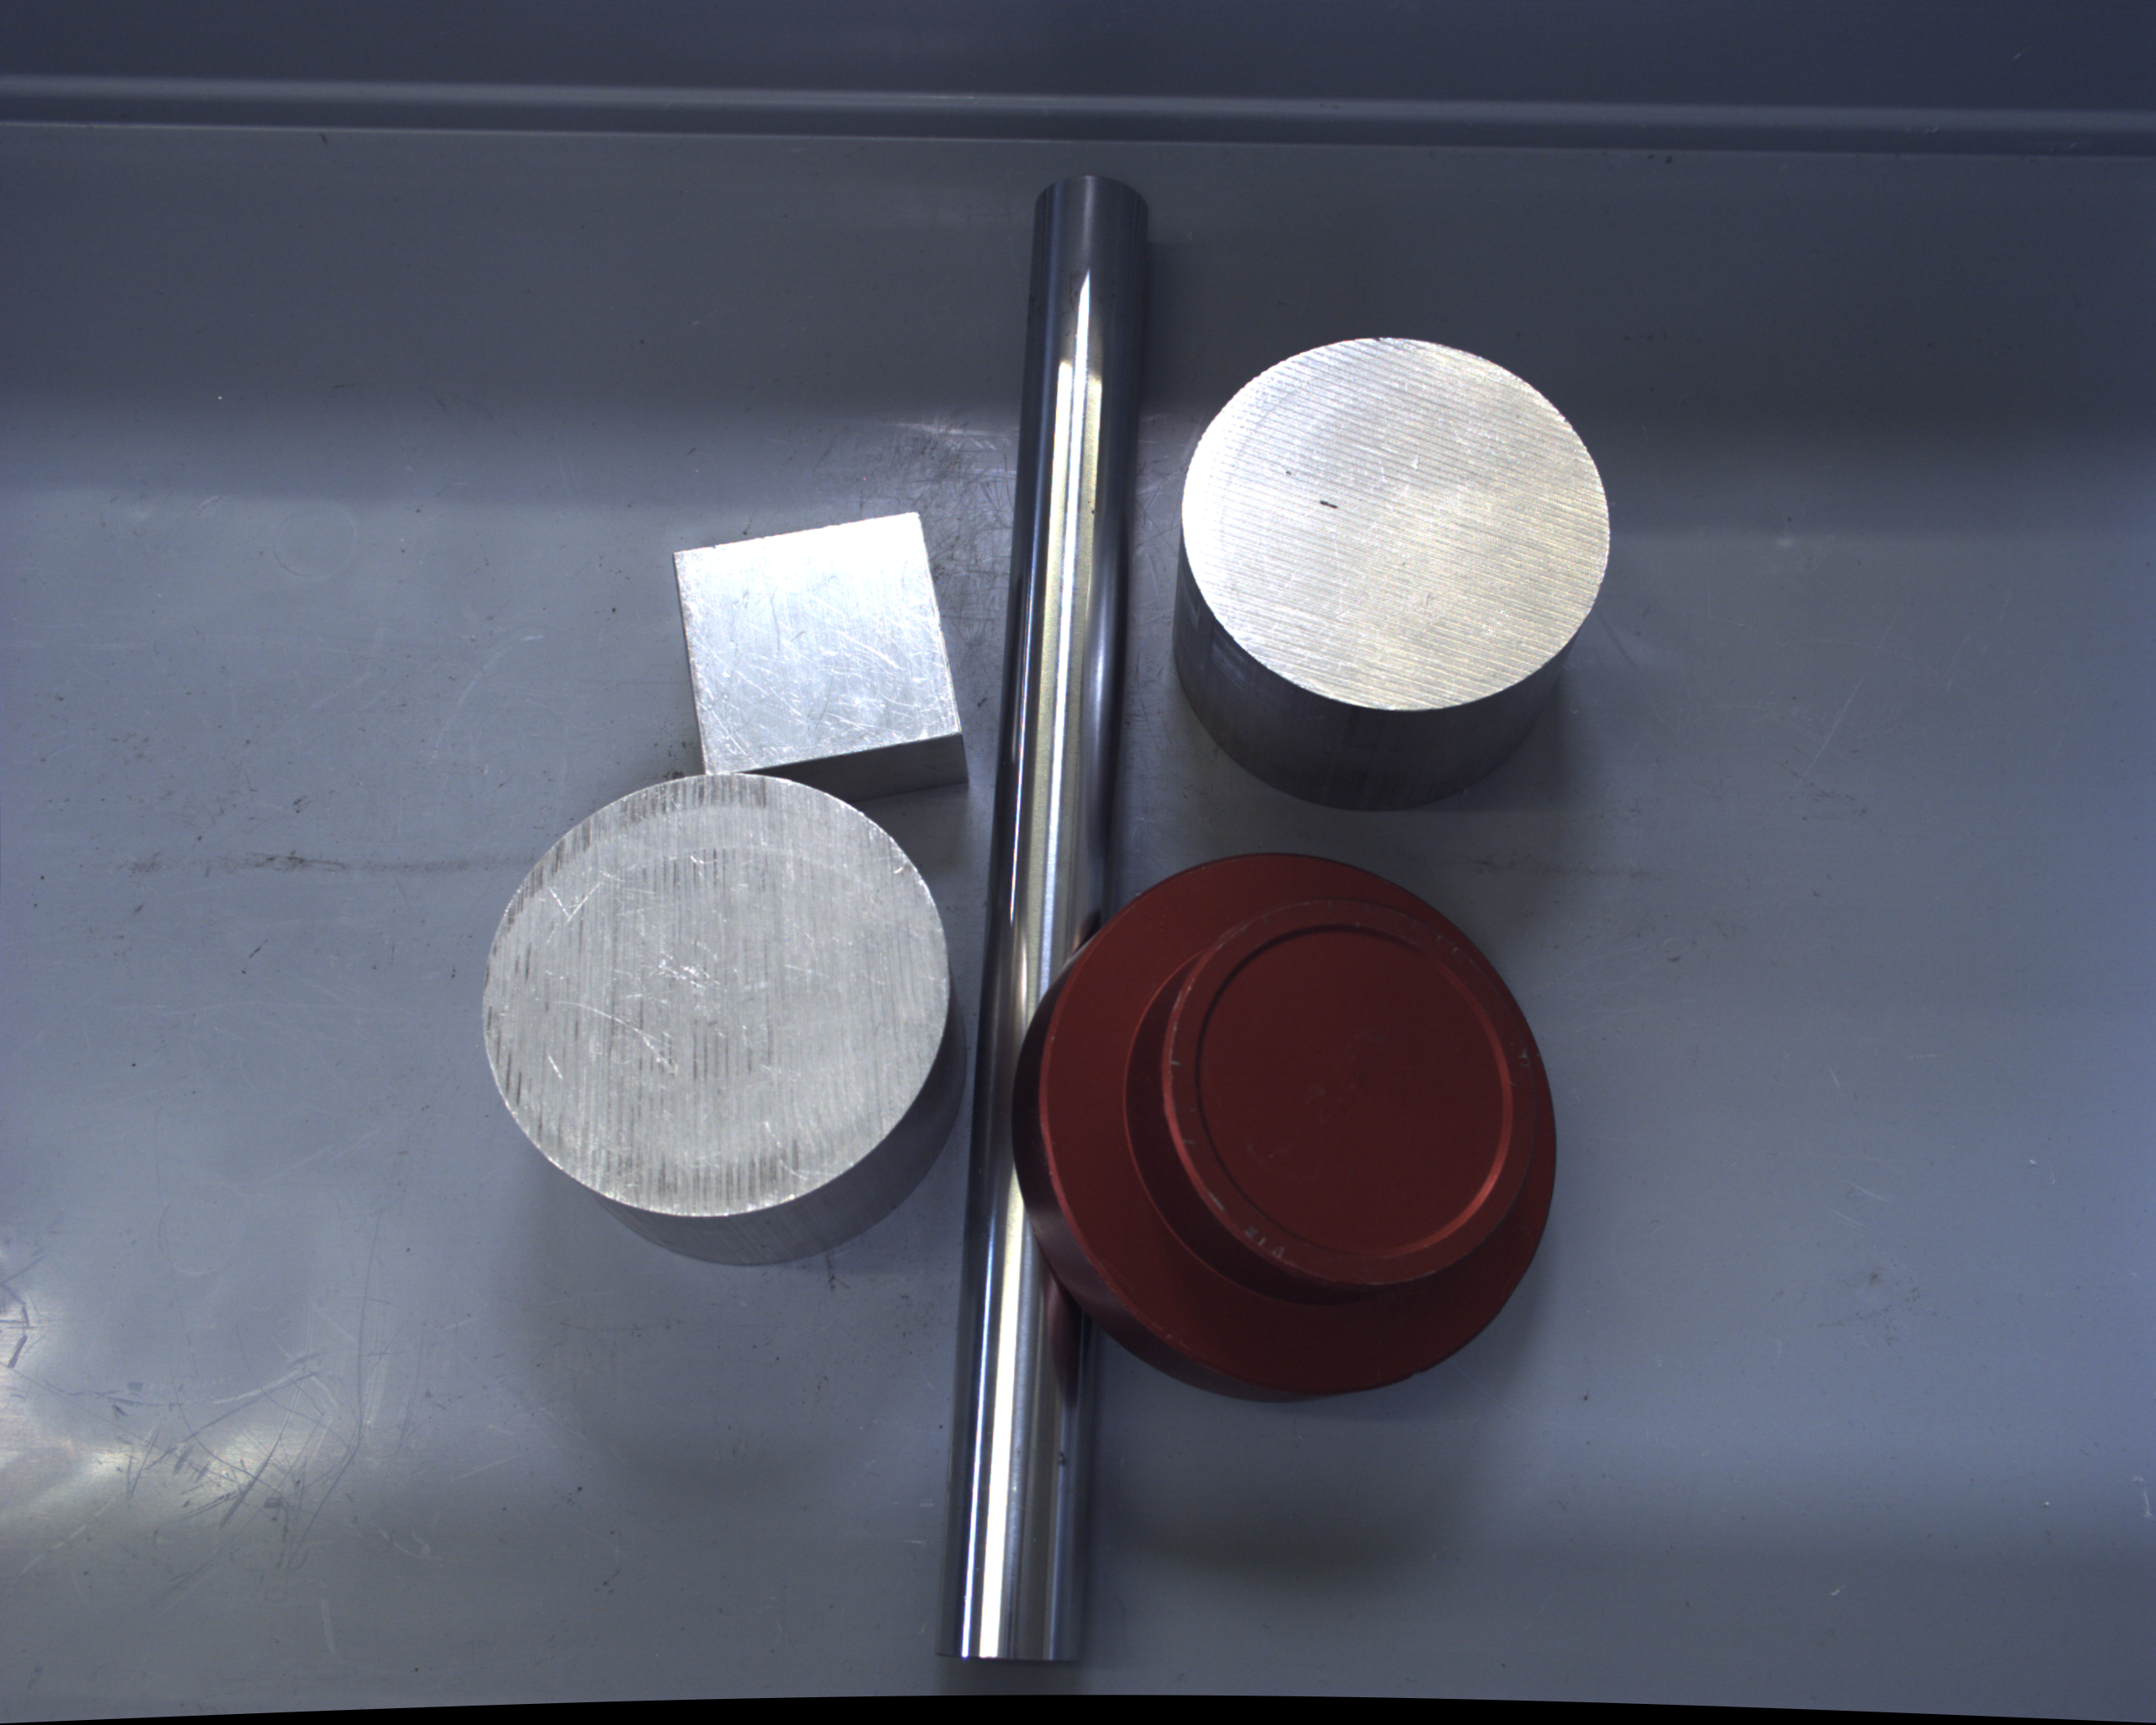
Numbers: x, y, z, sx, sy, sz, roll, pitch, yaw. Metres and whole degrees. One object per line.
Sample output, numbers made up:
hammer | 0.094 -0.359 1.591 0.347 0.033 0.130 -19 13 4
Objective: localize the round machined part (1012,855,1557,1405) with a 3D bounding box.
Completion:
round machined part | 0.041 0.044 0.370 0.099 0.042 0.098 6 69 -15

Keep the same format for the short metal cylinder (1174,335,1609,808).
short metal cylinder | 0.059 -0.057 0.415 0.081 0.050 0.080 0 70 0

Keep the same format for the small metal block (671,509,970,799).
small metal block | -0.052 -0.040 0.421 0.050 0.025 0.050 -10 70 -4

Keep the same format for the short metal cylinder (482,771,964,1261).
short metal cylinder | -0.062 0.029 0.383 0.081 0.050 0.080 0 70 0

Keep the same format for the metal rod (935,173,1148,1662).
metal rod | -0.004 -0.004 0.409 0.025 0.025 0.299 3 70 1
